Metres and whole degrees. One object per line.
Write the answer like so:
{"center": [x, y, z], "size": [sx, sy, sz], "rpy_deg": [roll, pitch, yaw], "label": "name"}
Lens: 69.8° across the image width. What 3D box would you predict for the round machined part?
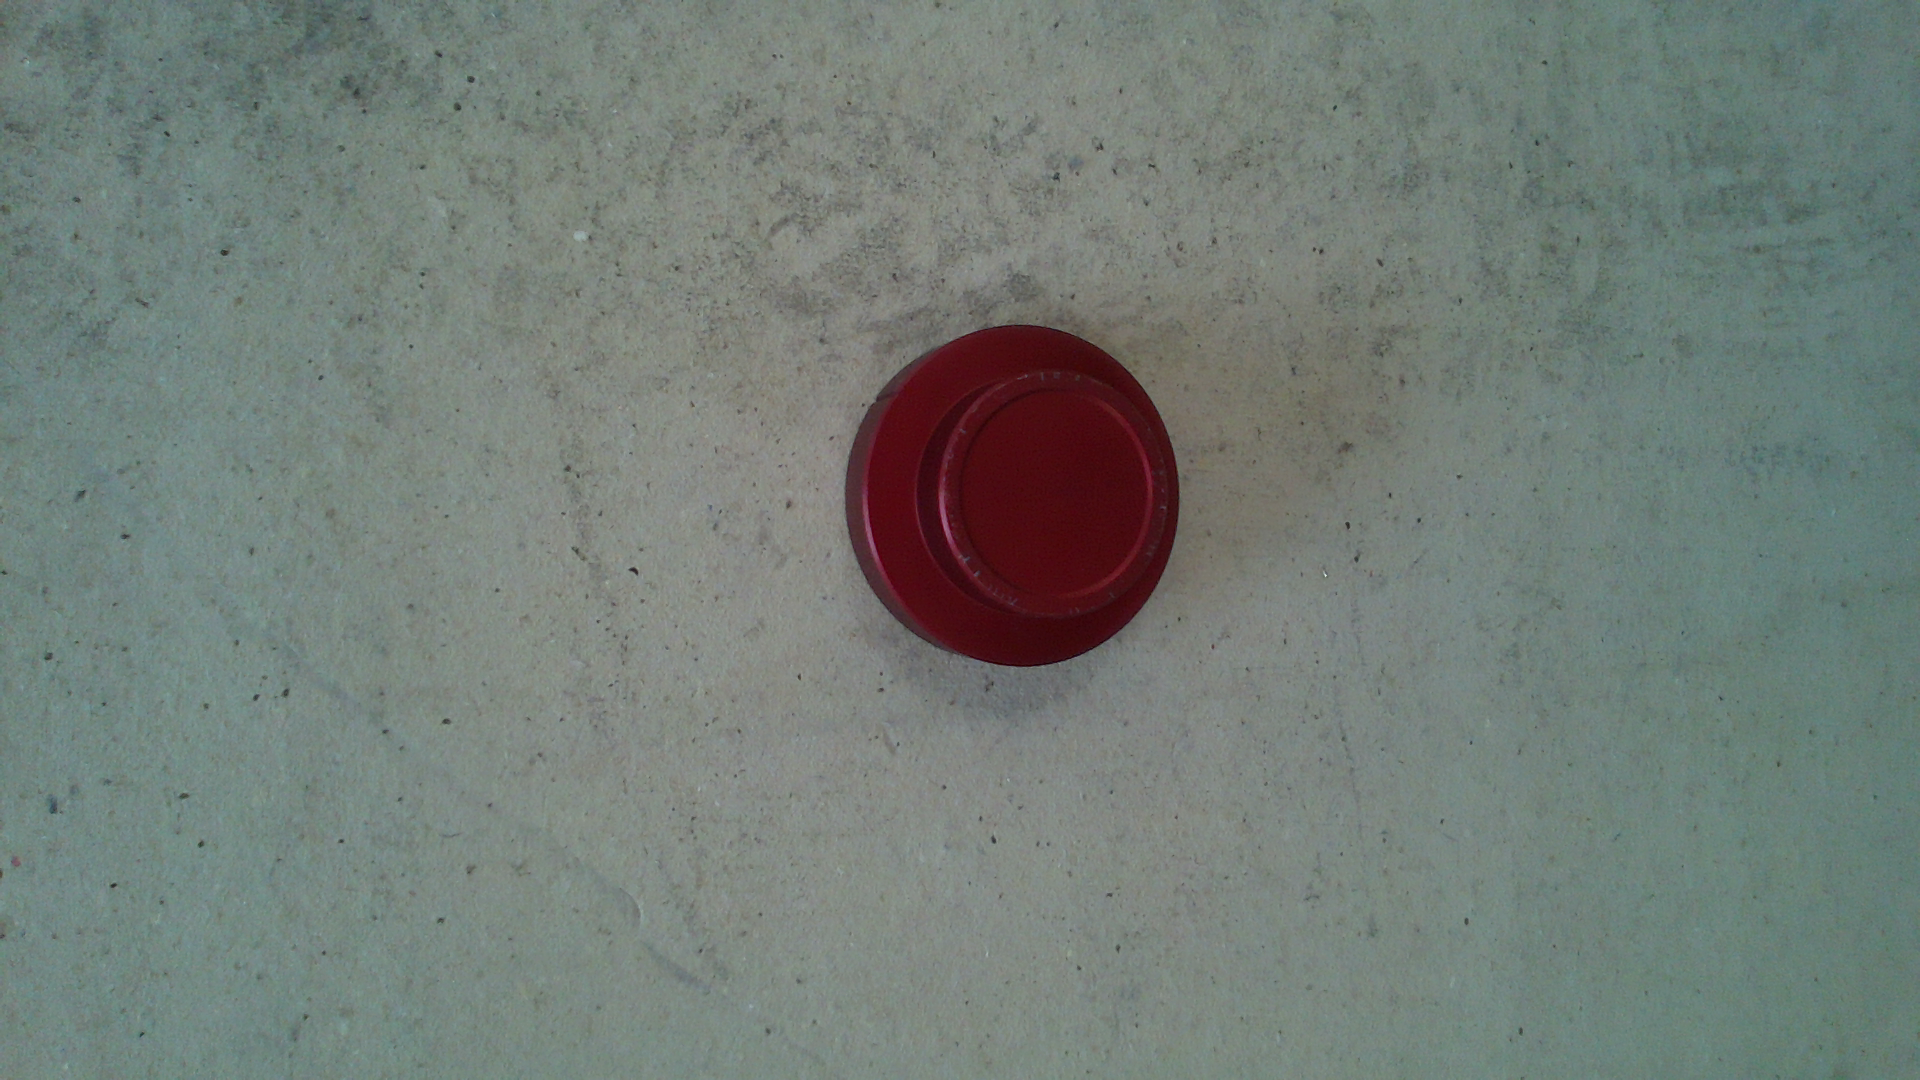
{"center": [0.020, -0.013, 0.392], "size": [0.098, 0.042, 0.098], "rpy_deg": [0, 90, -20], "label": "round machined part"}
